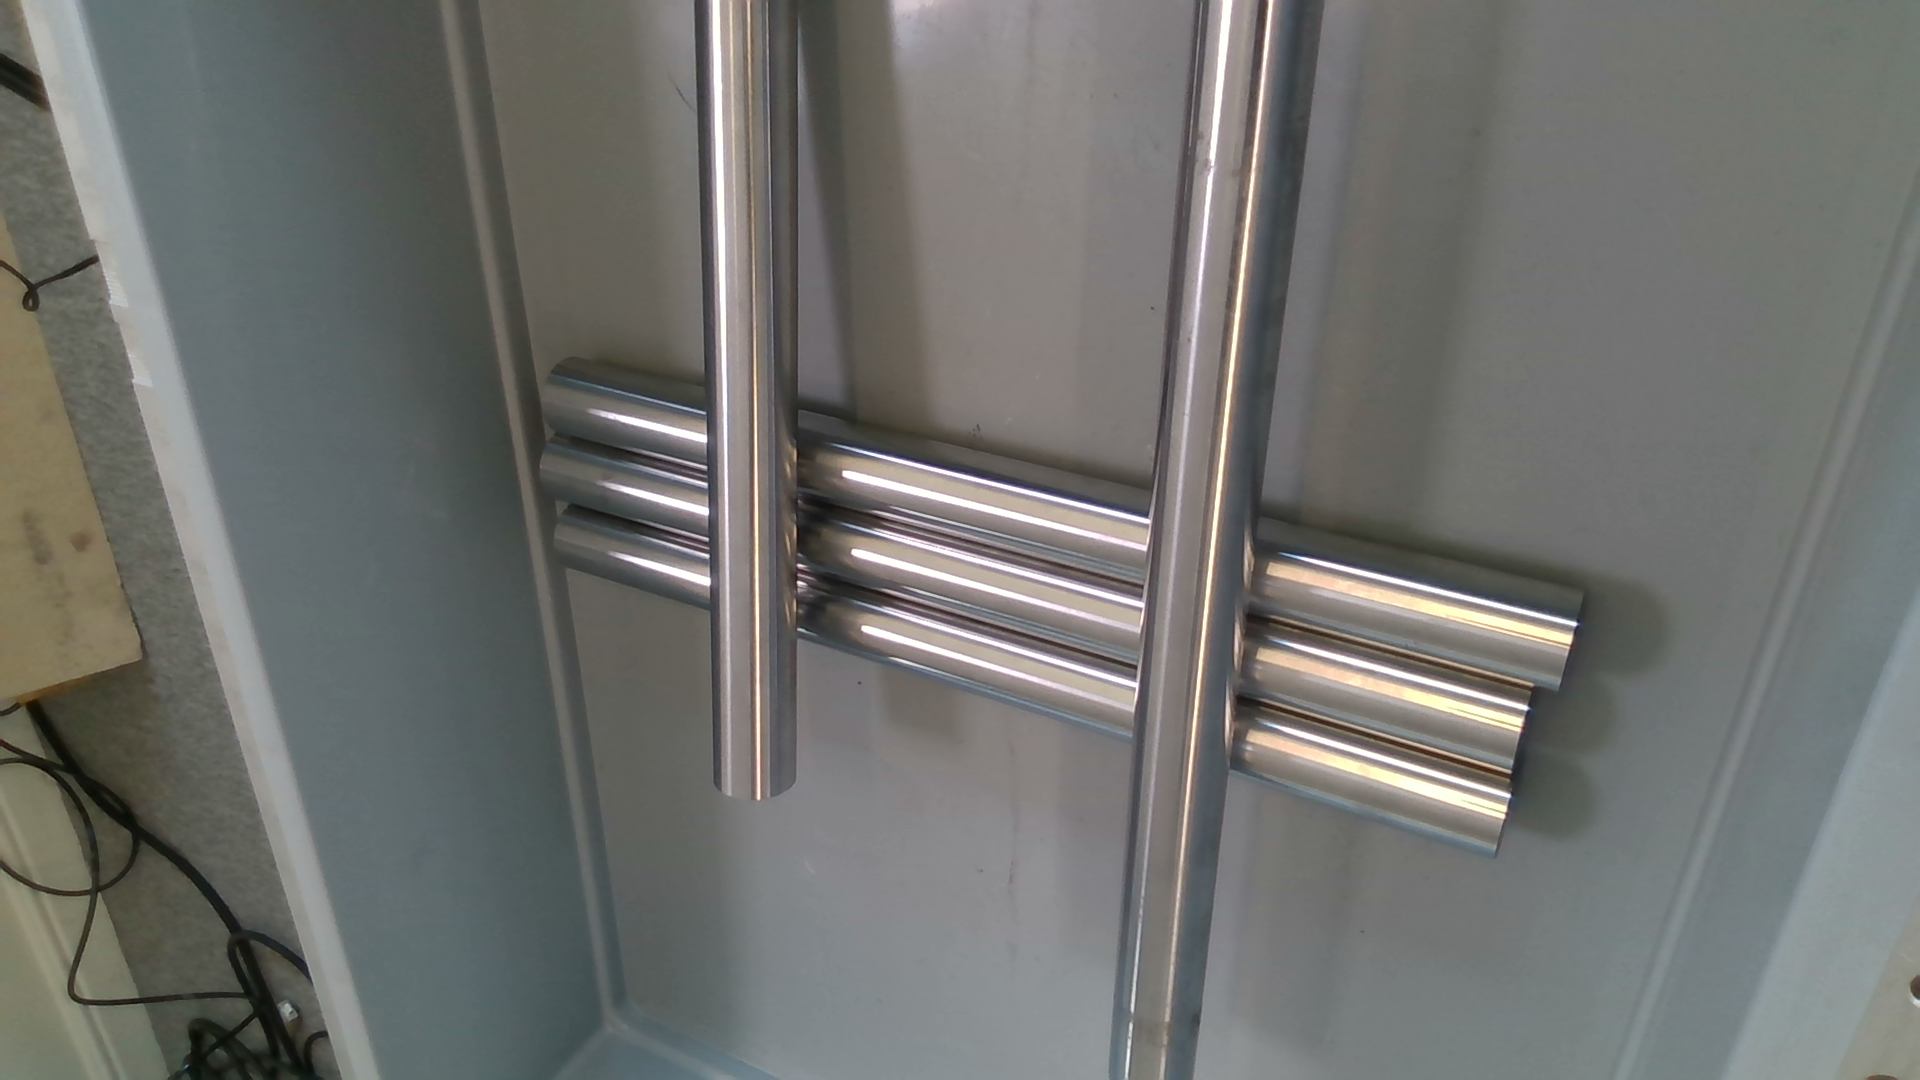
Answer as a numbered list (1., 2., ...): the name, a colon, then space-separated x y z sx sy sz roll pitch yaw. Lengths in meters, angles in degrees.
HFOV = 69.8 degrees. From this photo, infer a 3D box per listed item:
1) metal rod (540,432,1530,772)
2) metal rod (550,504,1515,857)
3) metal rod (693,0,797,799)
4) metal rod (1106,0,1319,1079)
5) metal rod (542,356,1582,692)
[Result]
1. metal rod: 0.003 0.009 0.392 0.300 0.025 0.025 15 122 24
2. metal rod: 0.003 0.031 0.403 0.300 0.025 0.025 15 122 24
3. metal rod: -0.056 -0.067 0.362 0.025 0.025 0.301 14 115 25
4. metal rod: 0.056 0.025 0.335 0.025 0.025 0.301 15 122 25
5. metal rod: 0.007 -0.012 0.378 0.300 0.025 0.025 15 122 24
